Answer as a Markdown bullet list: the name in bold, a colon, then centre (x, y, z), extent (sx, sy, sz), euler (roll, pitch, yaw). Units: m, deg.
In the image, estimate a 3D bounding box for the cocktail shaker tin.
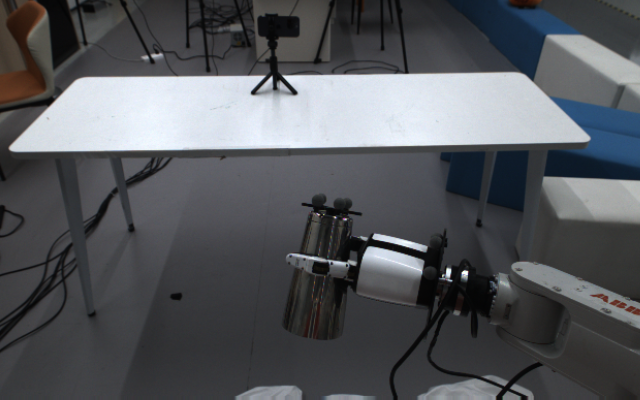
- **cocktail shaker tin**: centre (0.003, 0.105, 0.708), extent (0.093, 0.170, 0.093), euler (9, 3, -1)
